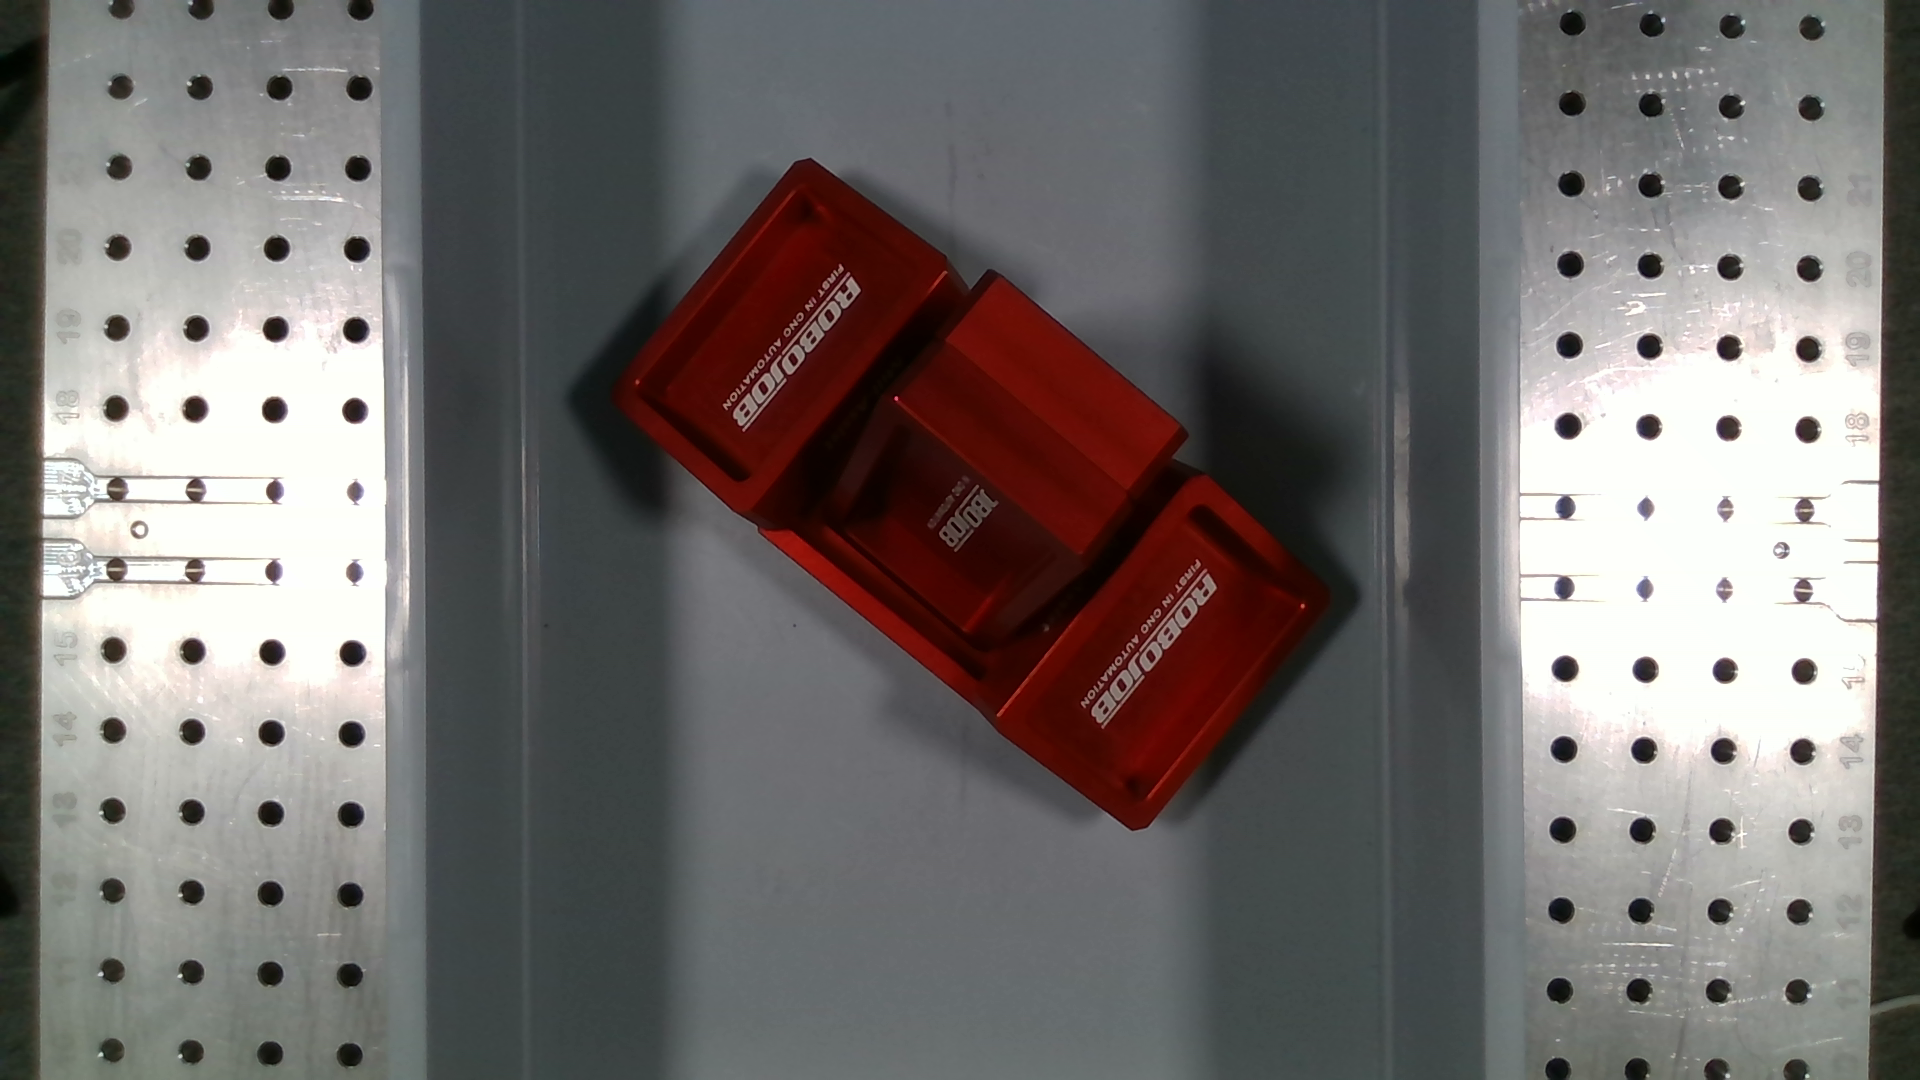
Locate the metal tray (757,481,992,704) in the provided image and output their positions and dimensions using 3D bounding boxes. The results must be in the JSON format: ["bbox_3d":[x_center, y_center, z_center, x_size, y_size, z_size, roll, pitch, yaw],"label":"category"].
[{"bbox_3d":[-0.009,0.000,0.583,0.130,0.030,0.090,39,90,0],"label":"metal tray"}]

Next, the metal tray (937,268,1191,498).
[{"bbox_3d":[0.035,-0.053,0.532,0.090,0.130,0.030,40,89,0],"label":"metal tray"}]

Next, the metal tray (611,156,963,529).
[{"bbox_3d":[-0.070,-0.082,0.565,0.090,0.030,0.130,40,91,24],"label":"metal tray"}]

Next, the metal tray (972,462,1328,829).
[{"bbox_3d":[0.079,0.043,0.566,0.090,0.030,0.130,39,90,-26],"label":"metal tray"}]

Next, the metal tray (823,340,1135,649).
[{"bbox_3d":[0.002,-0.012,0.521,0.090,0.130,0.030,40,67,-1],"label":"metal tray"}]
